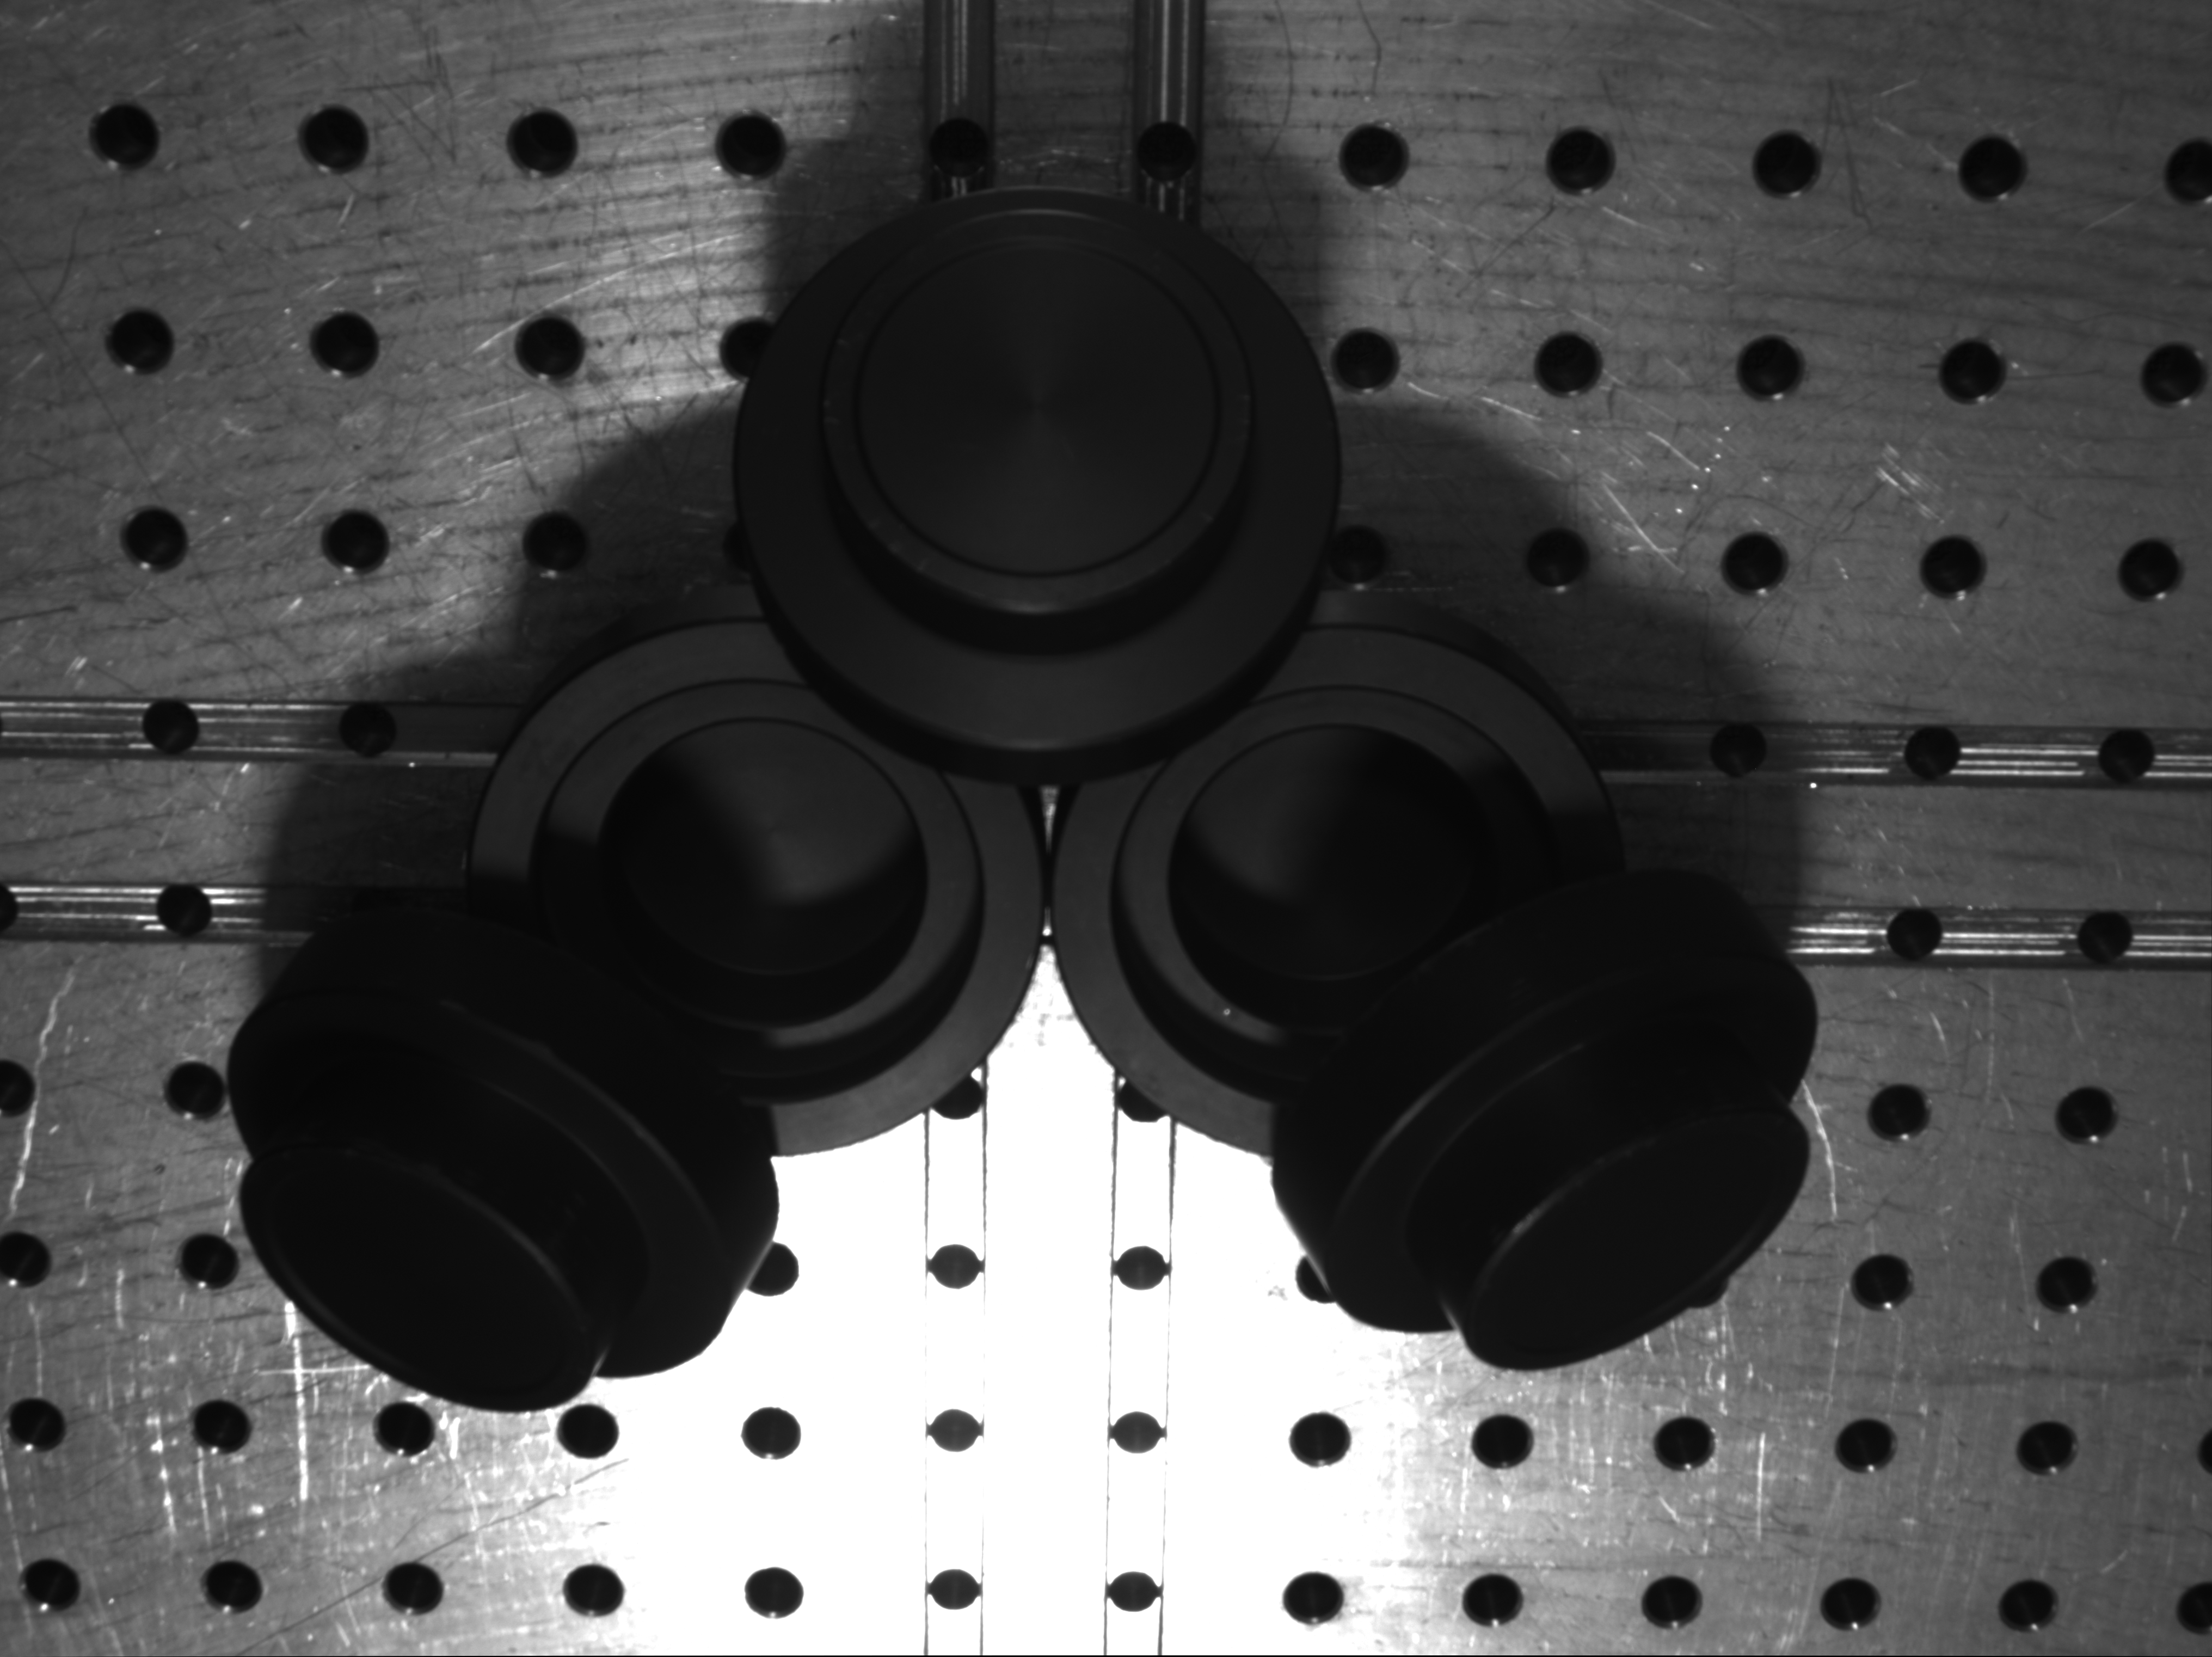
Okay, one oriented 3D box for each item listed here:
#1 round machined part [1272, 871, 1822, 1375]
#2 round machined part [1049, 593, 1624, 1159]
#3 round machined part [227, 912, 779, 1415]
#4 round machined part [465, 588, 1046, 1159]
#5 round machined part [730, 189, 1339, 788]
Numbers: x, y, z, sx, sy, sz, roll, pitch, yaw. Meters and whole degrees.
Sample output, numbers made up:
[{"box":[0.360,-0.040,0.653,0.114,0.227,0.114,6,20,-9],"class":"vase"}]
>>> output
[{"box":[0.081,0.056,0.629,0.098,0.042,0.098,-20,143,-16],"class":"round machined part"},{"box":[0.039,0.006,0.639,0.098,0.042,0.098,0,110,-1],"class":"round machined part"},{"box":[-0.110,0.064,0.634,0.098,0.042,0.098,16,139,15],"class":"round machined part"},{"box":[-0.059,0.005,0.637,0.098,0.042,0.098,0,110,-1],"class":"round machined part"},{"box":[-0.011,-0.059,0.588,0.098,0.042,0.098,0,72,-1],"class":"round machined part"}]
